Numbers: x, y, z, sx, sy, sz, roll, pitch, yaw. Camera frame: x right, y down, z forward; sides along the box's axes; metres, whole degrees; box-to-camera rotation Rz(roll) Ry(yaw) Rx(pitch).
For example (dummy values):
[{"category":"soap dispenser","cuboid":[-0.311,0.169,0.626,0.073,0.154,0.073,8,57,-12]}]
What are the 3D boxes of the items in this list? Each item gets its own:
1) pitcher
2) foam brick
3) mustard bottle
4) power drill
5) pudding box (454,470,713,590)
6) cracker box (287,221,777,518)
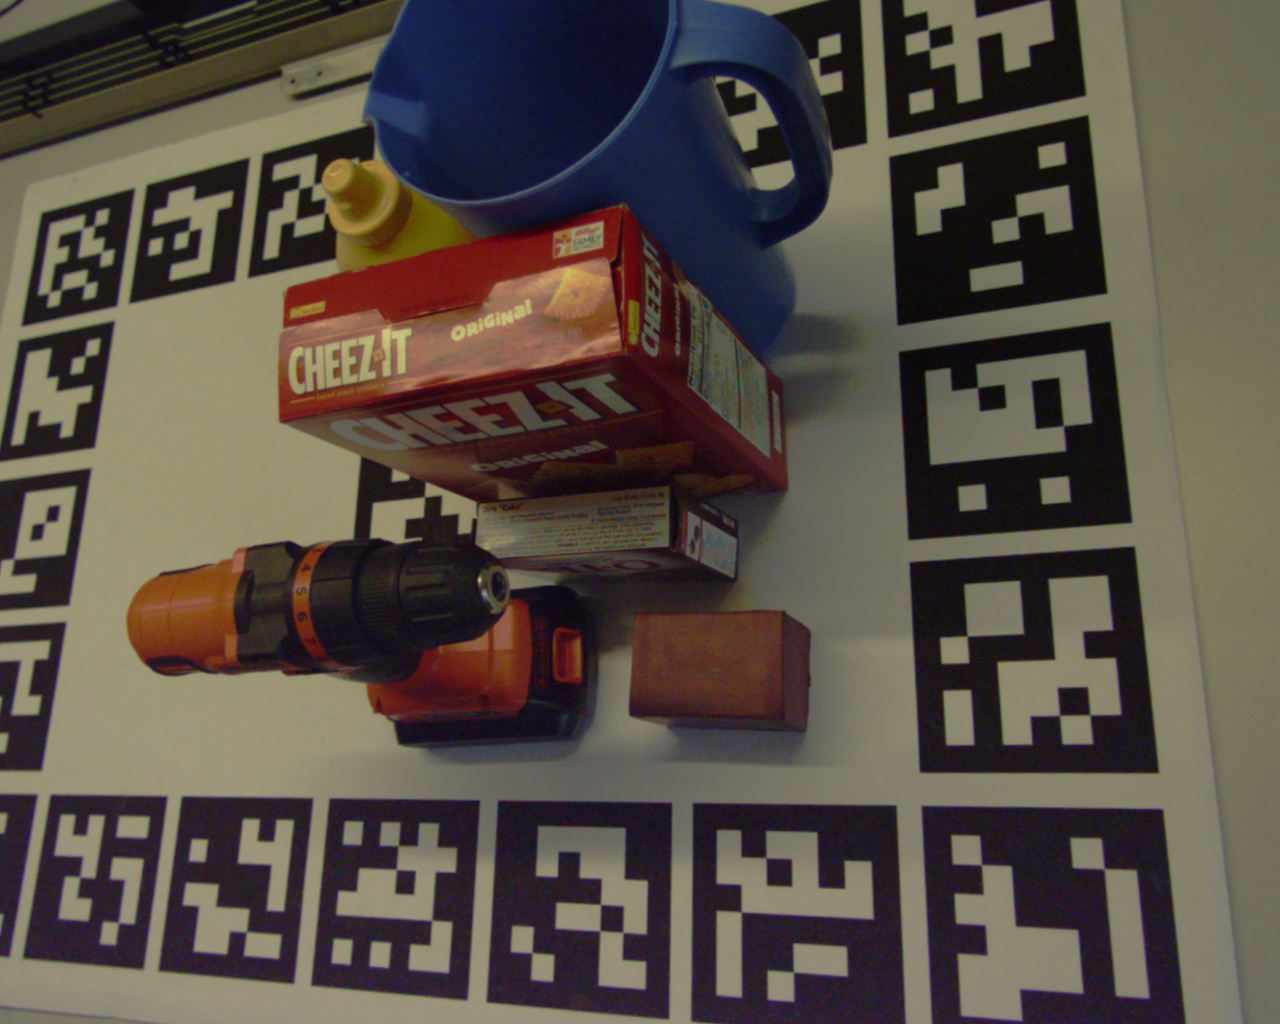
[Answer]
[{"category":"pitcher","cuboid":[-0.001,-0.153,0.574,0.191,0.239,0.133,0,77,26]},{"category":"foam brick","cuboid":[0.037,0.076,0.599,0.079,0.051,0.053,-4,77,23]},{"category":"mustard bottle","cuboid":[-0.119,-0.137,0.637,0.097,0.189,0.058,8,81,26]},{"category":"power drill","cuboid":[-0.113,0.062,0.557,0.186,0.185,0.057,-7,70,22]},{"category":"pudding box","cuboid":[-0.029,0.012,0.609,0.115,0.089,0.039,-6,73,26]},{"category":"cracker box","cuboid":[-0.042,-0.048,0.571,0.166,0.211,0.072,-9,71,24]}]
